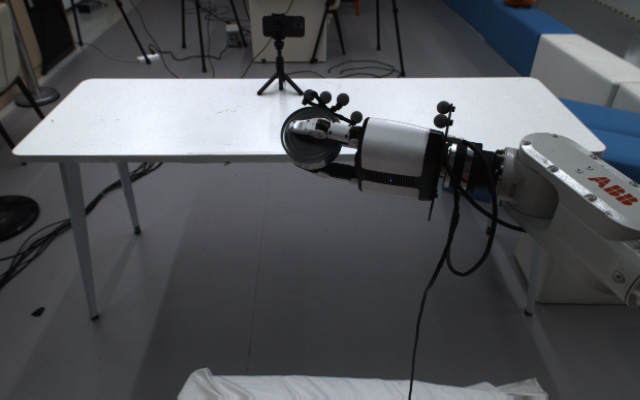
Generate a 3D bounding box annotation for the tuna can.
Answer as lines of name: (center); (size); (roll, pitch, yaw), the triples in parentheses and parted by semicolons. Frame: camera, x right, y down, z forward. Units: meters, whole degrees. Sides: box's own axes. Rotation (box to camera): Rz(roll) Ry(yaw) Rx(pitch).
tuna can: (-0.011, -0.088, 0.692); (0.085, 0.034, 0.085); (-2, 71, 6)
